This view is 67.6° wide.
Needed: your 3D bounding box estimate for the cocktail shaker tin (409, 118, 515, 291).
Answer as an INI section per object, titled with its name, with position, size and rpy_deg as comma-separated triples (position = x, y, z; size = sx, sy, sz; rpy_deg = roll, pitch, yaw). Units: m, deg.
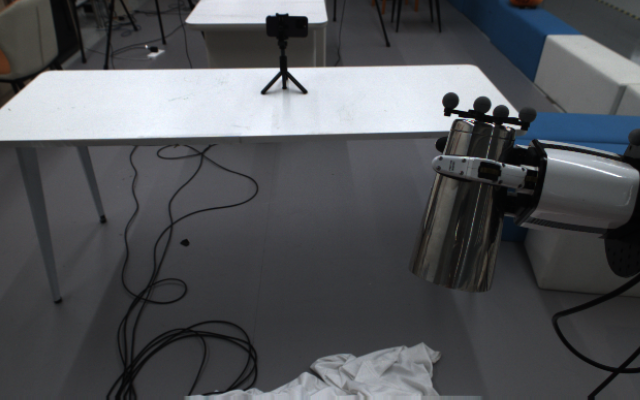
[cocktail shaker tin]
position = 0.164, 0.000, 0.530
size = 0.093, 0.170, 0.093
rpy_deg = 10, 9, -2
